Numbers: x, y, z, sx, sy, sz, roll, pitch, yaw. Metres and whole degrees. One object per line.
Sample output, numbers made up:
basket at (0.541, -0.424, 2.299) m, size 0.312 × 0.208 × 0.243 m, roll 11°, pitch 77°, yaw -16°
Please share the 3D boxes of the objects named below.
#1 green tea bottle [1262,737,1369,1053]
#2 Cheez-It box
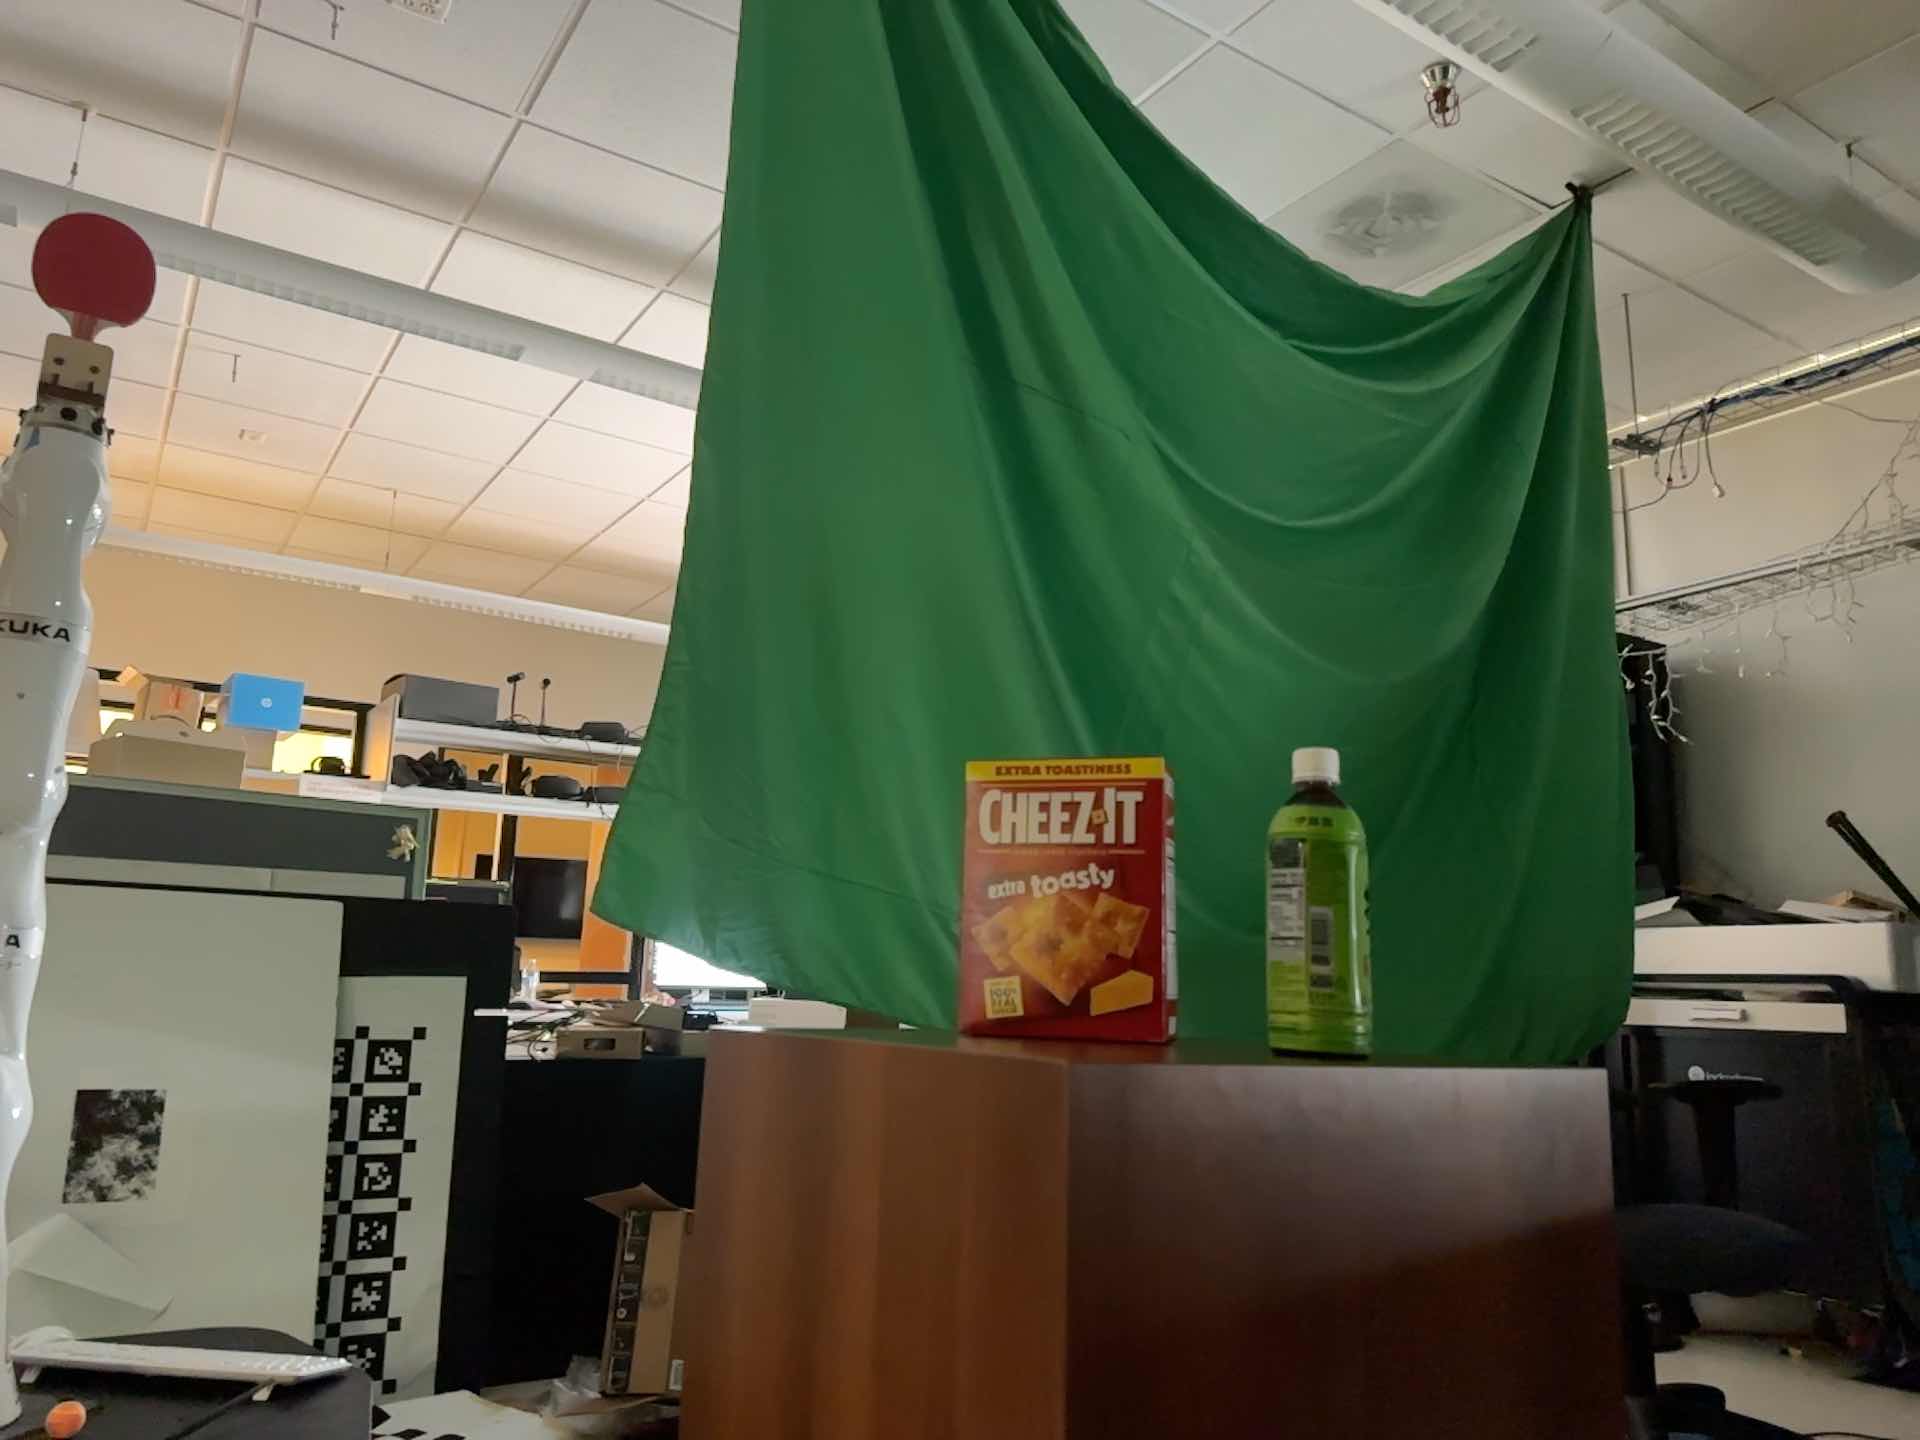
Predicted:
green tea bottle at (0.243, 0.117, 0.921) m, size 0.073 × 0.212 × 0.073 m, roll 2°, pitch -7°, yaw 0°
Cheez-It box at (0.080, 0.128, 1.055) m, size 0.159 × 0.214 × 0.062 m, roll -1°, pitch -8°, yaw 15°
